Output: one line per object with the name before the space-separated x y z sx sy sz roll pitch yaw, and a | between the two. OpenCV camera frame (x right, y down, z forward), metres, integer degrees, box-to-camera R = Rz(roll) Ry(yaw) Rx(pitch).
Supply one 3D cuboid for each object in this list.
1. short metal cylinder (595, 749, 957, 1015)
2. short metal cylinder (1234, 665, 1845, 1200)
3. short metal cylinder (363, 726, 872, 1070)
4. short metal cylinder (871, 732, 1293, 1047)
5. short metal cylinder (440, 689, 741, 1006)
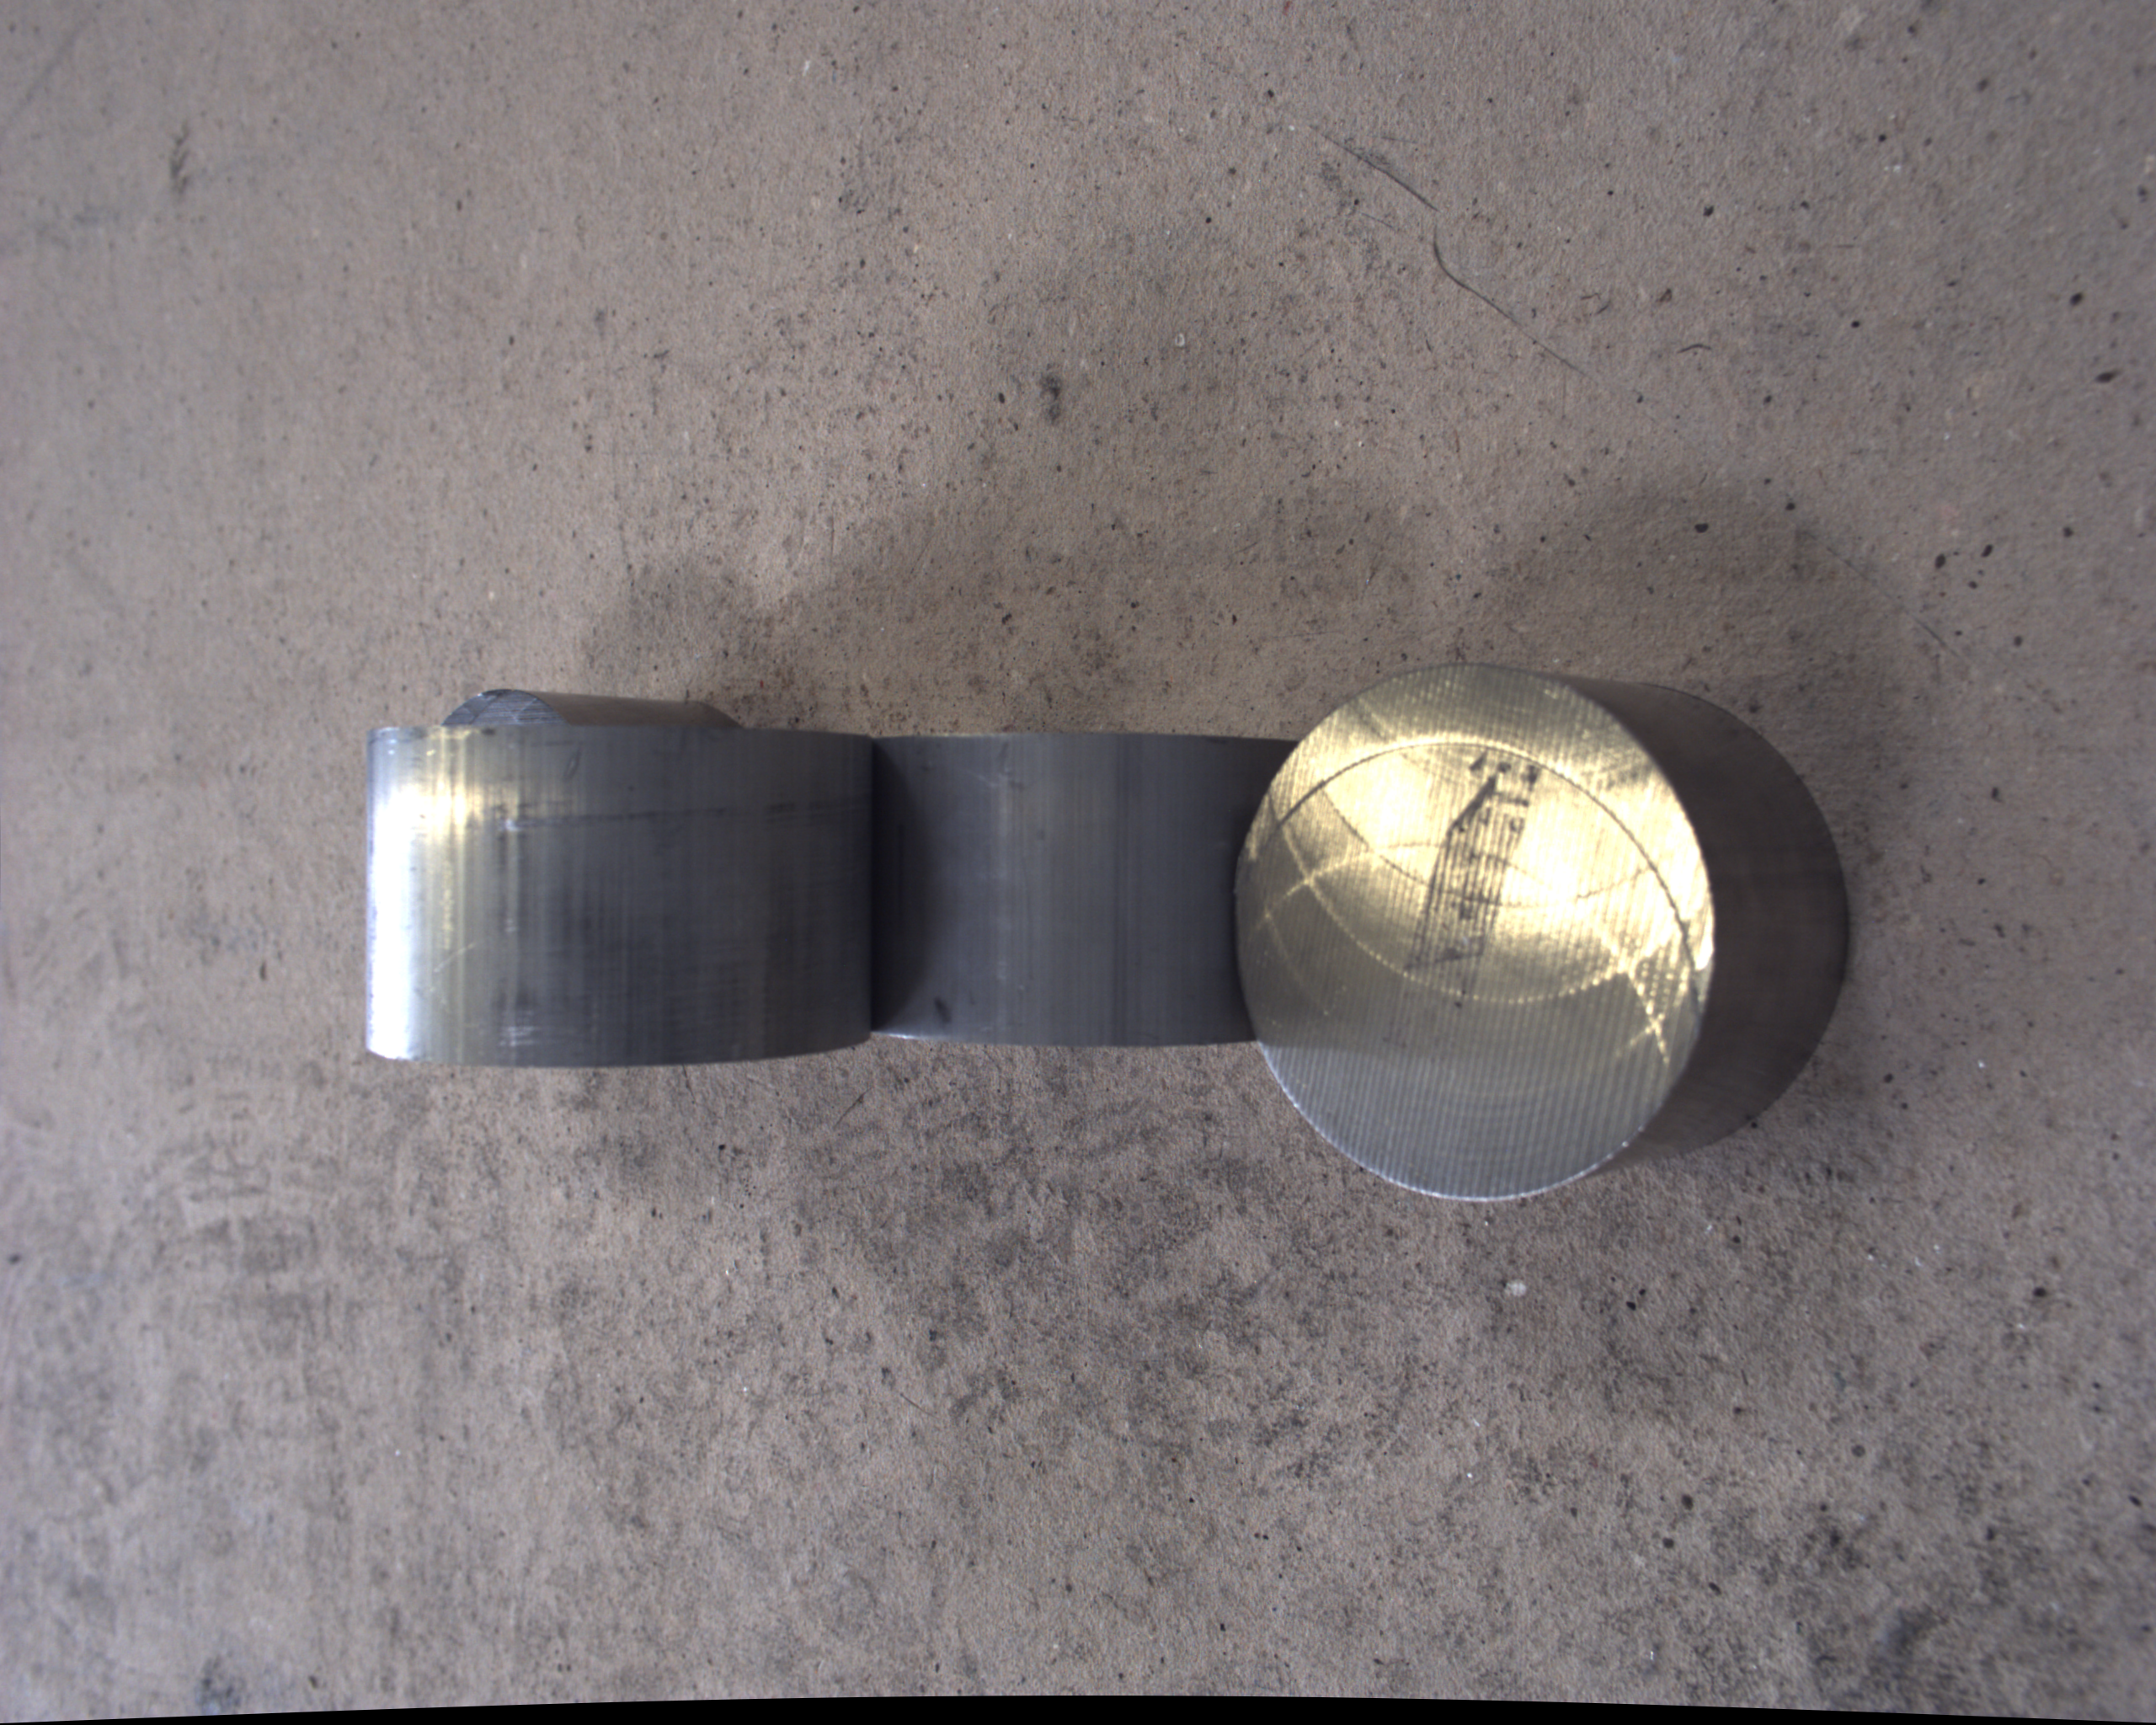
short metal cylinder | -0.060 0.003 0.421 0.080 0.081 0.050 1 91 40
short metal cylinder | 0.072 0.010 0.330 0.080 0.050 0.080 1 91 39
short metal cylinder | -0.074 0.004 0.342 0.080 0.081 0.050 1 92 40
short metal cylinder | 0.001 0.004 0.370 0.080 0.081 0.050 1 90 40
short metal cylinder | -0.112 0.001 0.483 0.080 0.050 0.080 0 90 39
